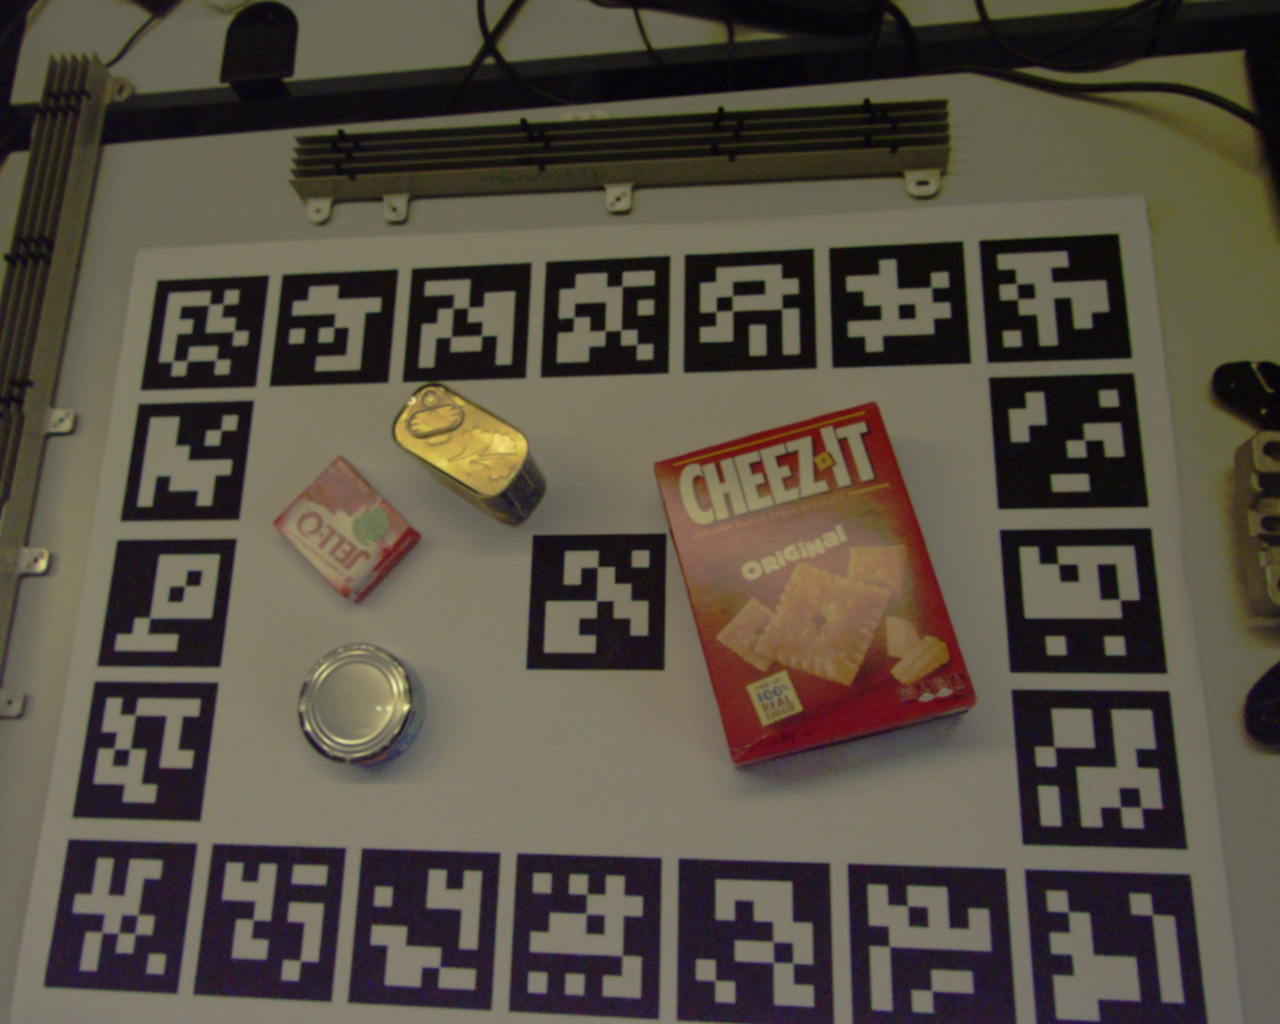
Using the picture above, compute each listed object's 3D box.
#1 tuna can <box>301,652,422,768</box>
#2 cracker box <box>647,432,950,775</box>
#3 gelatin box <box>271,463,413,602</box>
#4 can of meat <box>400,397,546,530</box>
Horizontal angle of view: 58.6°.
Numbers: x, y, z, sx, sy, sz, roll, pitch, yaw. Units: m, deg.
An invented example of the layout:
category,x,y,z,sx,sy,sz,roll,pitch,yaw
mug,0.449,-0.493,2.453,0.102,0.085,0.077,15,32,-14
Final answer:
category,x,y,z,sx,sy,sz,roll,pitch,yaw
tuna can,-0.210,0.151,0.865,0.086,0.033,0.086,-2,75,8
cracker box,0.111,0.065,0.836,0.164,0.071,0.215,-16,69,1
gelatin box,-0.239,0.016,0.917,0.090,0.030,0.073,42,79,15
can of meat,-0.128,-0.035,0.898,0.102,0.083,0.057,29,78,16
